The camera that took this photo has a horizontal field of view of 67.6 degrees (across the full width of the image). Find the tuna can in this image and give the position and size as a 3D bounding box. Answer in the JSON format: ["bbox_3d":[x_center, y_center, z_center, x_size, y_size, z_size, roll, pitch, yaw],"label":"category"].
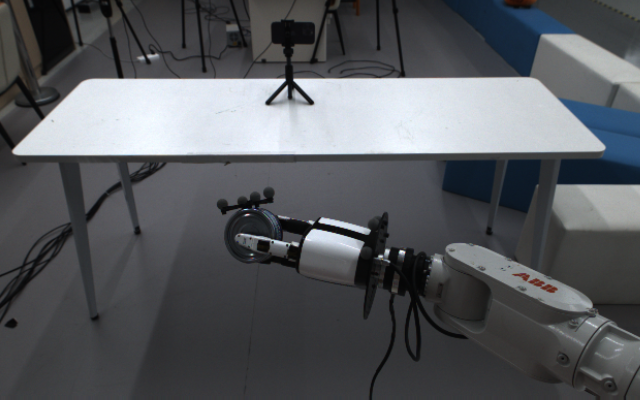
[{"bbox_3d":[-0.100,0.060,0.741,0.085,0.085,0.034,12,3,14],"label":"tuna can"}]
